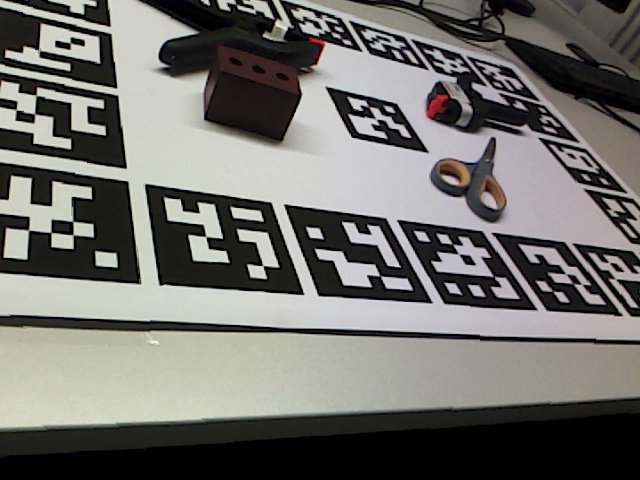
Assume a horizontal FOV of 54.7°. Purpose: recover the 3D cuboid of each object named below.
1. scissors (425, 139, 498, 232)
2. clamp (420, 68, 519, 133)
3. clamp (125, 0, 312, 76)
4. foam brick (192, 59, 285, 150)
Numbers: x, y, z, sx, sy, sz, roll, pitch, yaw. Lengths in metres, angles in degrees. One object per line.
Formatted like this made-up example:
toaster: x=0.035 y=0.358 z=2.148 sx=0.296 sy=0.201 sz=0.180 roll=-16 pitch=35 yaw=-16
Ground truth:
scissors: x=0.171 y=-0.079 z=0.698 sx=0.088 sy=0.016 sz=0.202 roll=37 pitch=36 yaw=-1
clamp: x=0.187 y=-0.179 z=0.820 sx=0.164 sy=0.036 sz=0.122 roll=-22 pitch=66 yaw=-45
clamp: x=-0.101 y=-0.217 z=0.675 sx=0.201 sy=0.036 sz=0.166 roll=3 pitch=41 yaw=-31
foam brick: x=-0.077 y=-0.125 z=0.575 sx=0.078 sy=0.051 sz=0.053 roll=8 pitch=43 yaw=-18
